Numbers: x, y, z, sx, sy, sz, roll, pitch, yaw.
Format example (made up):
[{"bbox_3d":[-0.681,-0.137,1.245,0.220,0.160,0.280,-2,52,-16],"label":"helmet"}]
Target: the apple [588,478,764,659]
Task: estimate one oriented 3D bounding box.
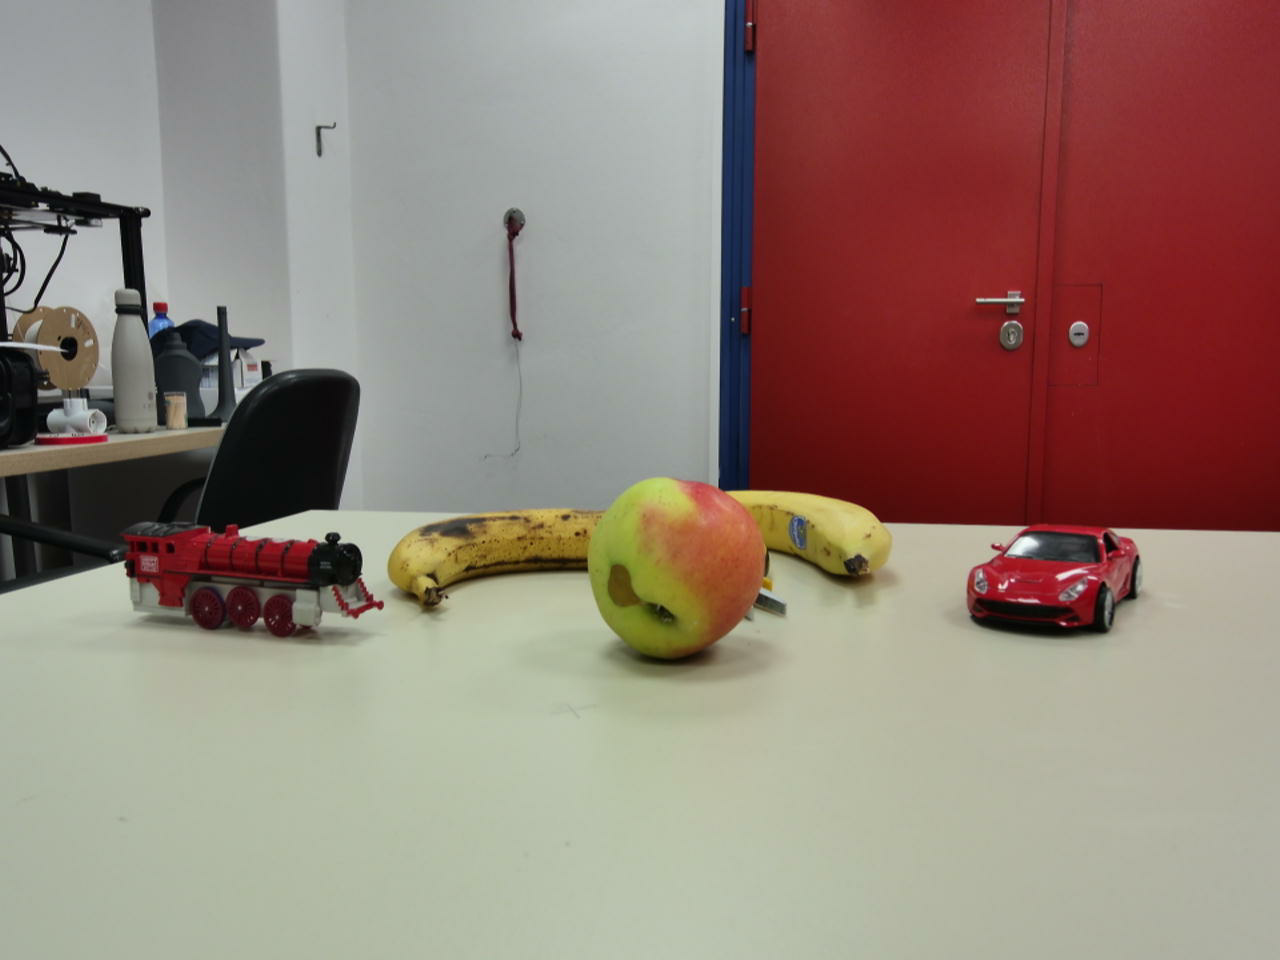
[{"bbox_3d":[0.016,0.037,0.425,0.075,0.074,0.075,-1,4,-8],"label":"apple"}]
